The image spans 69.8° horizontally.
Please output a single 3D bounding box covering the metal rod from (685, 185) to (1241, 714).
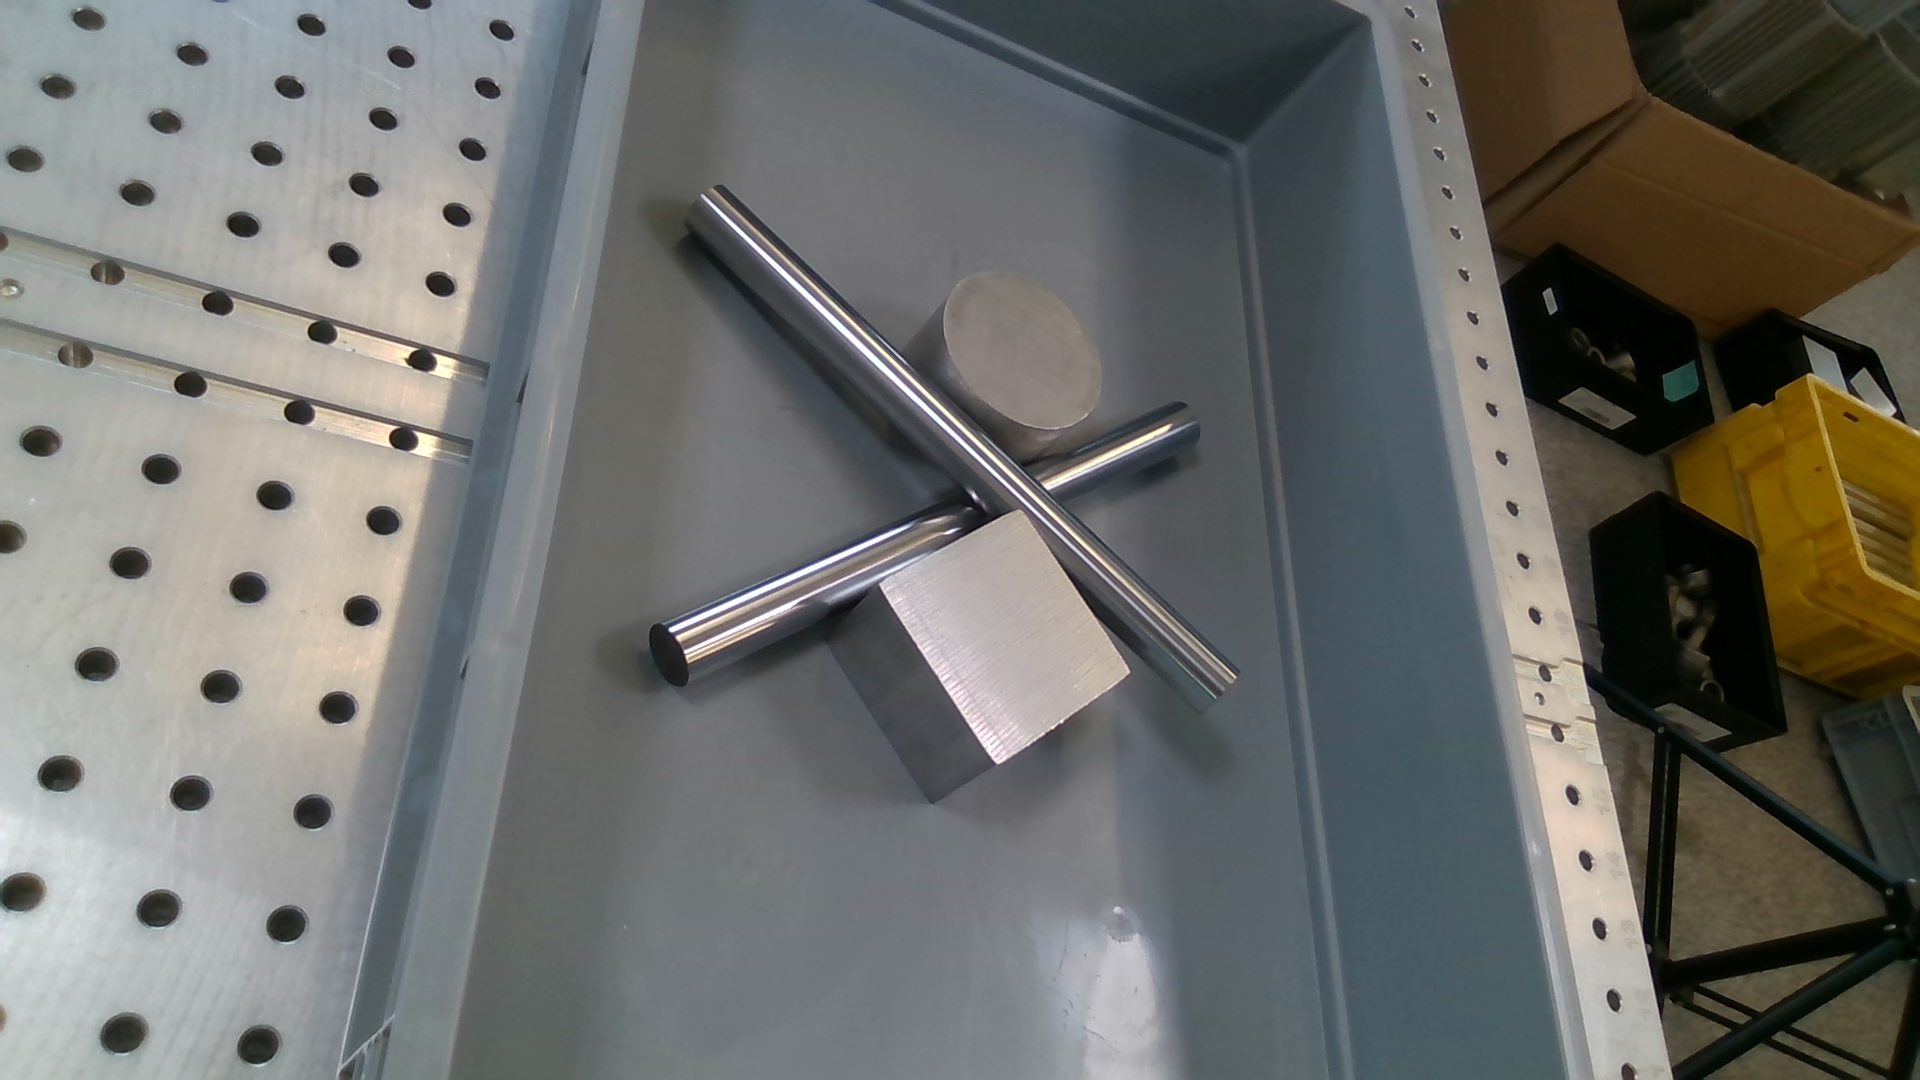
[{"bbox_3d":[-0.002,-0.041,0.579,0.300,0.025,0.025,44,50,7],"label":"metal rod"}]

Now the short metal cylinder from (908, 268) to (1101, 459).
[{"bbox_3d":[0.016,-0.074,0.618,0.080,0.050,0.080,14,59,-25],"label":"short metal cylinder"}]

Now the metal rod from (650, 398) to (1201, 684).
[{"bbox_3d":[0.002,-0.009,0.590,0.300,0.025,0.025,-25,80,-38],"label":"metal rod"}]

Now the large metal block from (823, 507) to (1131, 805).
[{"bbox_3d":[0.007,0.045,0.548,0.080,0.050,0.080,-28,82,-39],"label":"large metal block"}]
